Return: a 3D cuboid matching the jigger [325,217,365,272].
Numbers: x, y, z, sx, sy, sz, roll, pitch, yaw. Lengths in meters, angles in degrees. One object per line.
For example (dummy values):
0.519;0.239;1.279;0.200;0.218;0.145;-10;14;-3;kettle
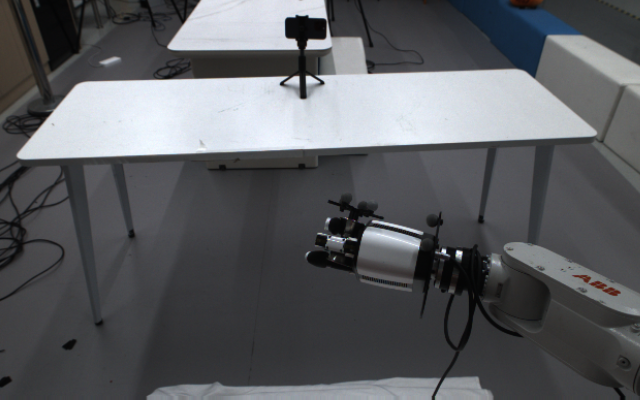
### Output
0.040;0.062;0.735;0.043;0.071;0.043;19;-6;2;jigger
